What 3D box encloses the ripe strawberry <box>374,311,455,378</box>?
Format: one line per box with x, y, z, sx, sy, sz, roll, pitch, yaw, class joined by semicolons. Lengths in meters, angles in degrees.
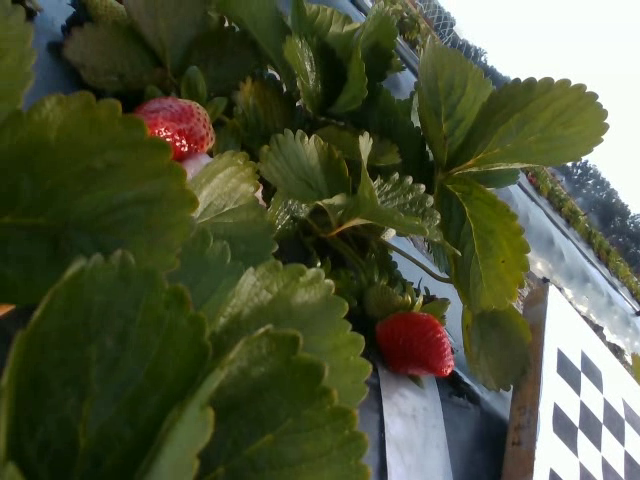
0.053;0.053;0.288;0.035;0.050;0.055;-35;19;18;ripe strawberry
